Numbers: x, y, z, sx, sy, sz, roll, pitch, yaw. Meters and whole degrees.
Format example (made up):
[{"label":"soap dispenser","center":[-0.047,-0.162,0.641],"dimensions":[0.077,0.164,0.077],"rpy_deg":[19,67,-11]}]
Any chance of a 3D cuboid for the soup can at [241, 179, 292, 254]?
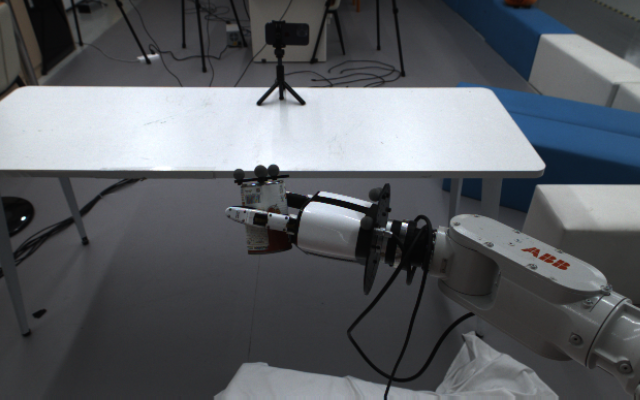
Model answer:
[{"label":"soup can","center":[-0.078,0.026,0.710],"dimensions":[0.067,0.101,0.067],"rpy_deg":[-7,2,0]}]
